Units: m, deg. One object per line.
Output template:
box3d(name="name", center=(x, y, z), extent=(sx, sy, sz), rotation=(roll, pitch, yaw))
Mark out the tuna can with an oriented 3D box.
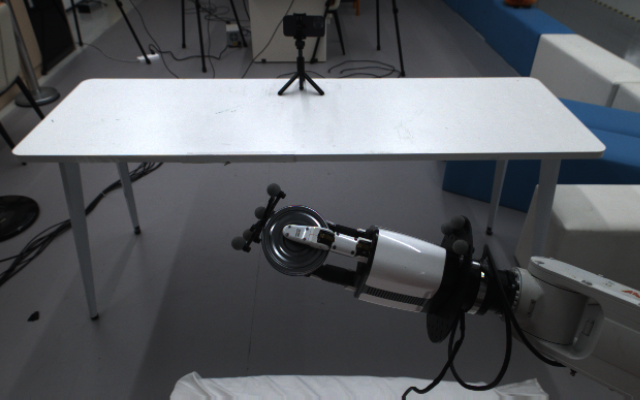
box3d(name="tuna can", center=(-0.025, 0.054, 0.595), extent=(0.085, 0.034, 0.085), rotation=(1, 76, -5))
